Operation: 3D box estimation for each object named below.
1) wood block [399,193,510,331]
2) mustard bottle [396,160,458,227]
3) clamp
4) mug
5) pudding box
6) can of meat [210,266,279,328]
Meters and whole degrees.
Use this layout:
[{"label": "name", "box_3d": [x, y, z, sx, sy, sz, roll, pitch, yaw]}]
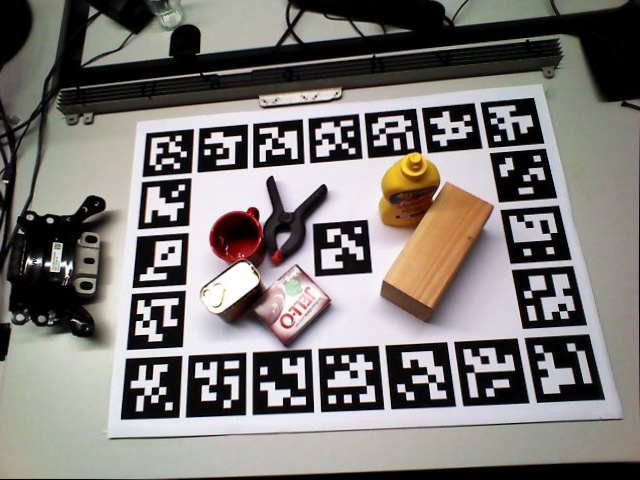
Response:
[{"label": "wood block", "box_3d": [0.225, 0.033, 0.856, 0.090, 0.091, 0.205, 32, 74, 18]}, {"label": "mustard bottle", "box_3d": [0.174, -0.080, 0.843, 0.096, 0.192, 0.058, -9, 69, 3]}, {"label": "clamp", "box_3d": [-0.032, -0.035, 0.937, 0.122, 0.036, 0.164, 15, 74, 9]}, {"label": "mug", "box_3d": [-0.112, 0.007, 0.925, 0.093, 0.081, 0.116, 17, 74, 12]}, {"label": "pudding box", "box_3d": [-0.021, 0.121, 0.873, 0.113, 0.039, 0.090, -41, 72, -11]}, {"label": "can of meat", "box_3d": [-0.122, 0.098, 0.862, 0.102, 0.084, 0.058, -33, 71, -7]}]
